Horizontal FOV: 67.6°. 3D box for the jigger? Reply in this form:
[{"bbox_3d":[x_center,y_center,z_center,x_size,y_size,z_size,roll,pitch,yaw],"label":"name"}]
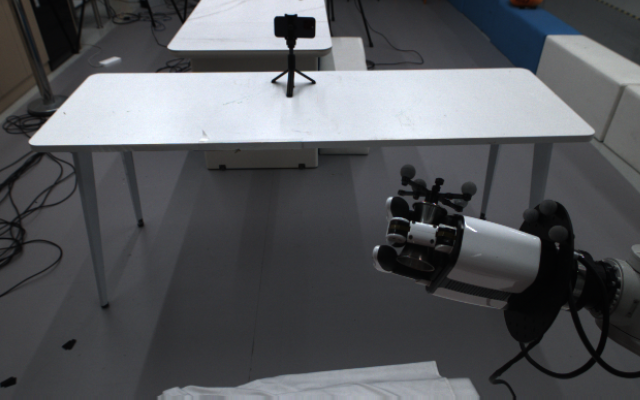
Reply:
[{"bbox_3d":[0.117,0.040,0.546,0.043,0.043,0.071,13,72,15],"label":"jigger"}]
